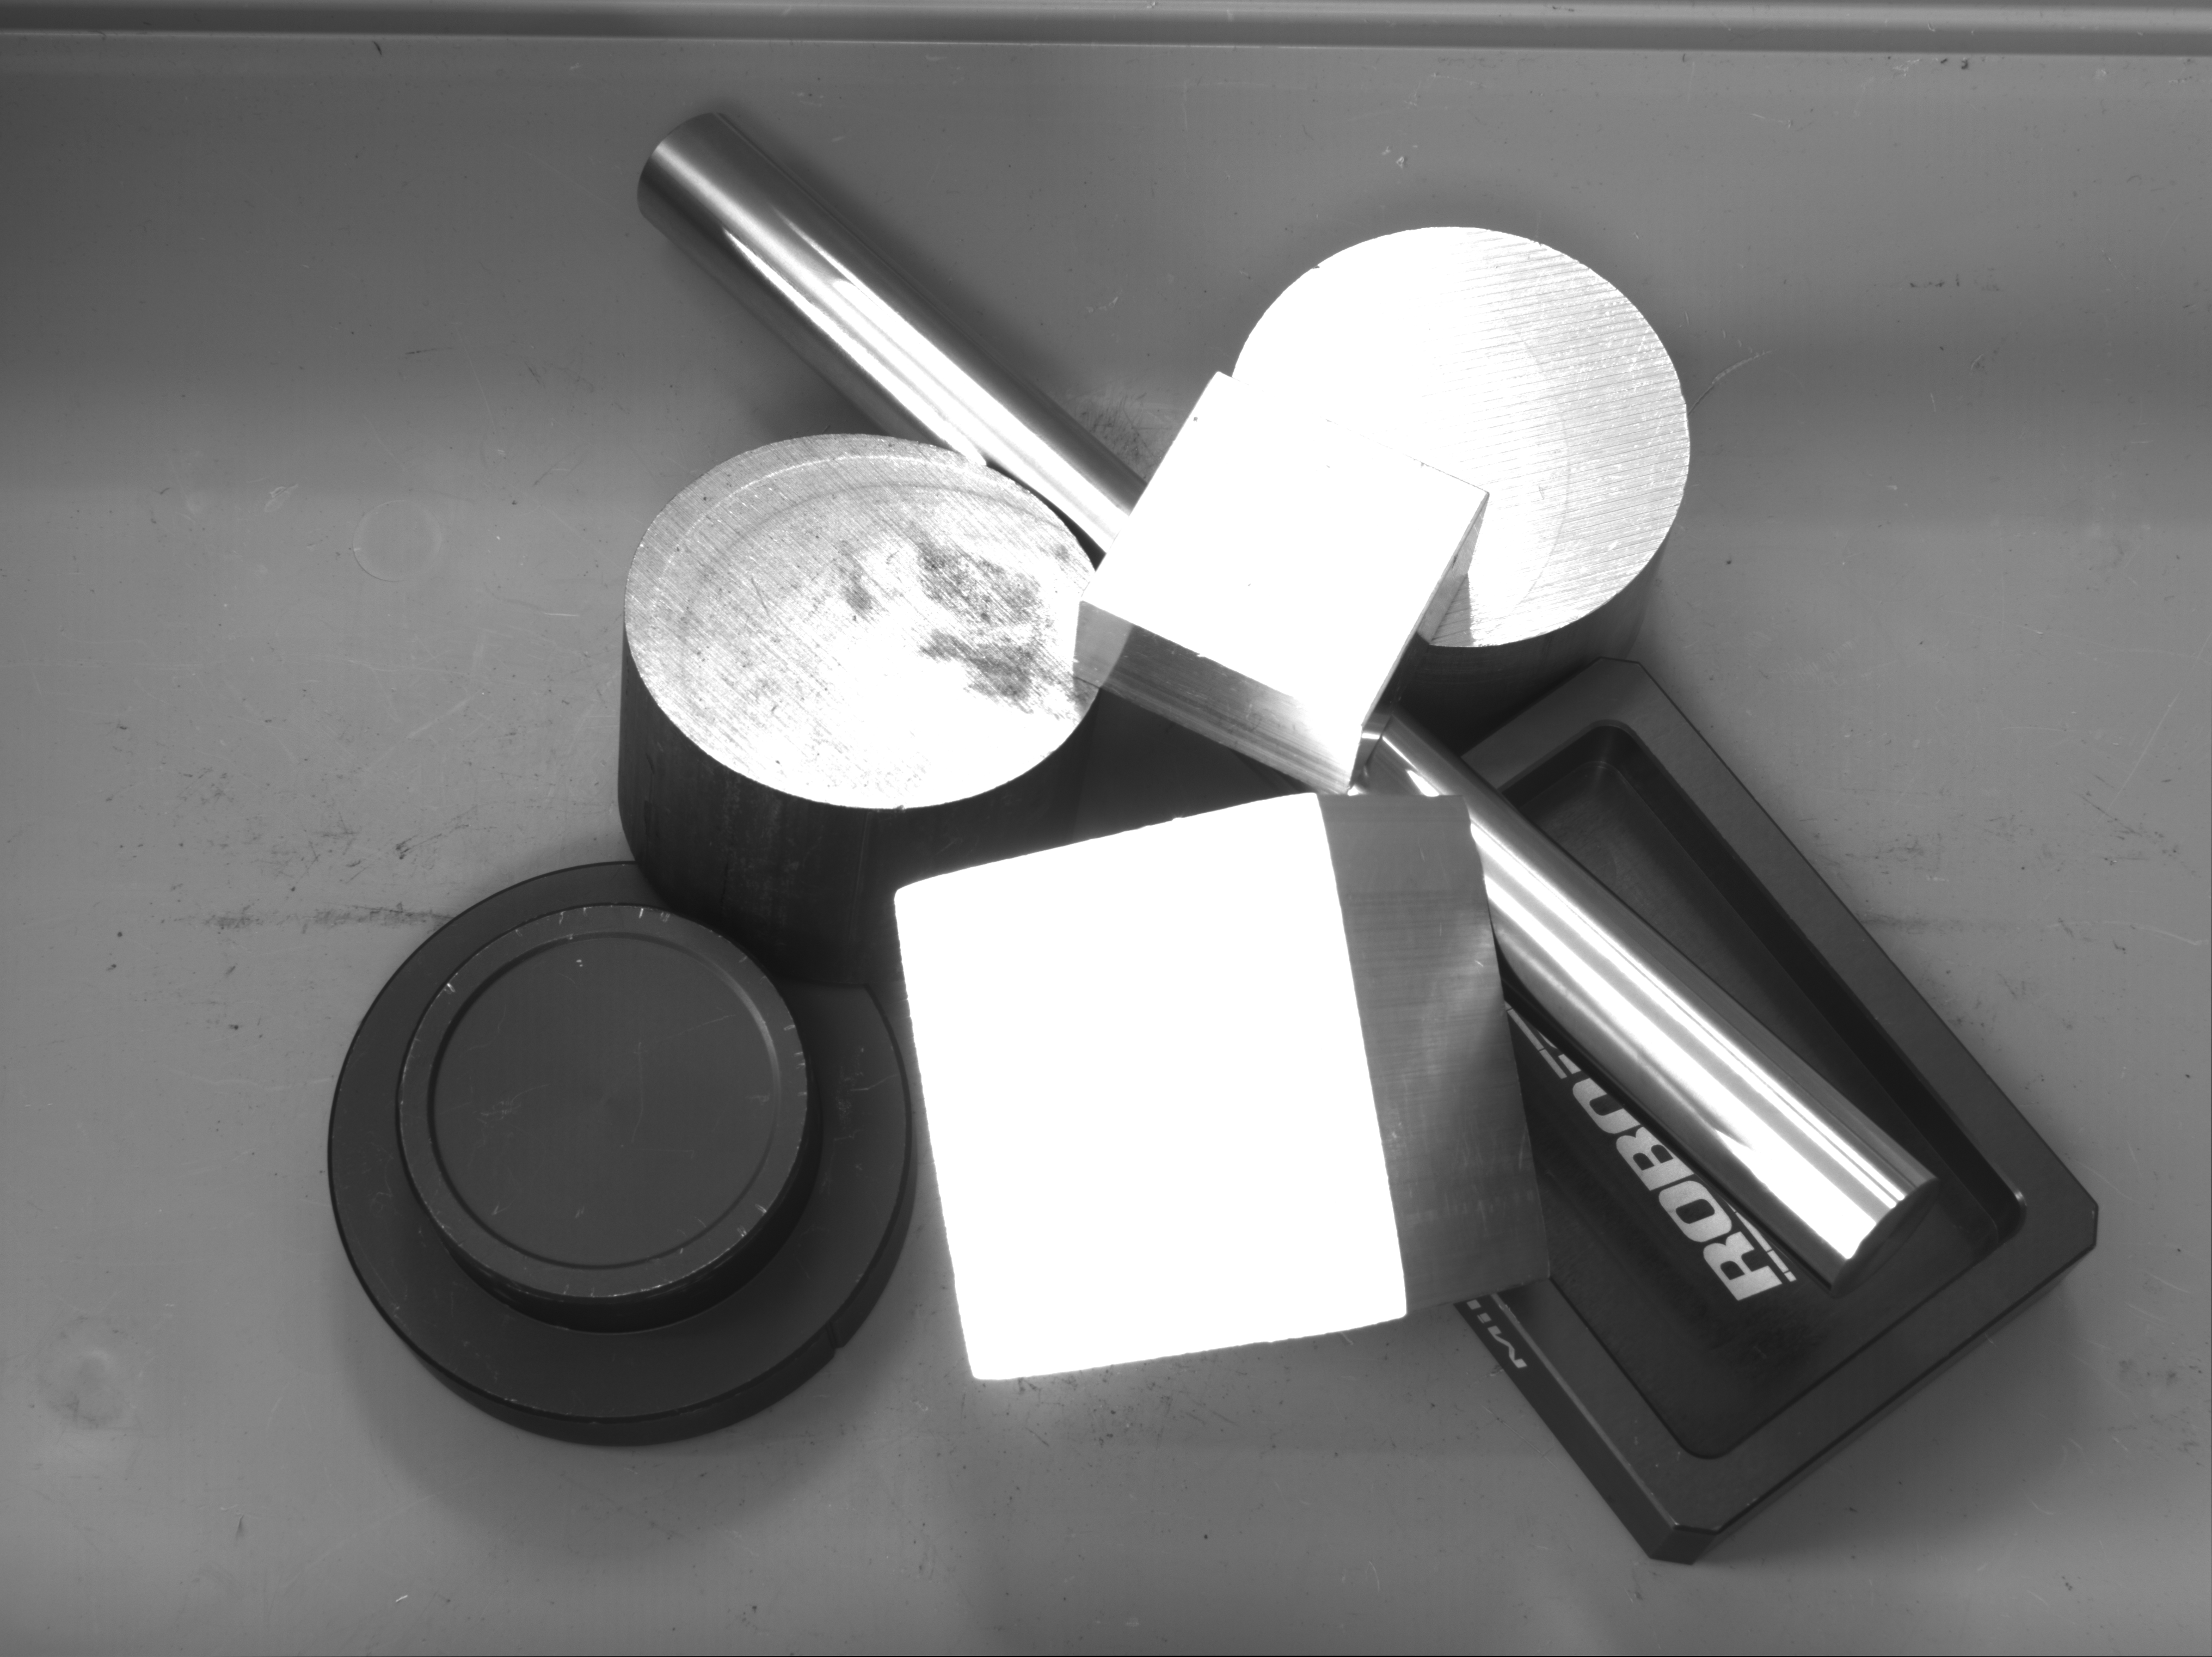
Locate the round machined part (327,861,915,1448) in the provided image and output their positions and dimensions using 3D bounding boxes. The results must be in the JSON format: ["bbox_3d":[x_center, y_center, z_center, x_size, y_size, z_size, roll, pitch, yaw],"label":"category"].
[{"bbox_3d":[-0.082,0.051,0.616,0.098,0.042,0.098,0,70,0],"label":"round machined part"}]

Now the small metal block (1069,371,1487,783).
[{"bbox_3d":[0.028,-0.040,0.602,0.050,0.025,0.050,25,64,9],"label":"small metal block"}]

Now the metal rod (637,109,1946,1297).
[{"bbox_3d":[0.022,-0.030,0.629,0.025,0.025,0.299,-41,66,-13],"label":"metal rod"}]

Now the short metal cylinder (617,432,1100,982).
[{"bbox_3d":[-0.042,-0.021,0.627,0.080,0.050,0.080,5,53,-6],"label":"short metal cylinder"}]

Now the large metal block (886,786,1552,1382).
[{"bbox_3d":[0.018,0.041,0.588,0.080,0.050,0.080,-13,83,31],"label":"large metal block"}]

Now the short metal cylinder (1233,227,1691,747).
[{"bbox_3d":[0.060,-0.059,0.653,0.080,0.050,0.080,0,70,0],"label":"short metal cylinder"}]

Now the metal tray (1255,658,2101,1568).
[{"bbox_3d":[0.092,0.047,0.624,0.090,0.030,0.130,-34,73,-12],"label":"metal tray"}]
